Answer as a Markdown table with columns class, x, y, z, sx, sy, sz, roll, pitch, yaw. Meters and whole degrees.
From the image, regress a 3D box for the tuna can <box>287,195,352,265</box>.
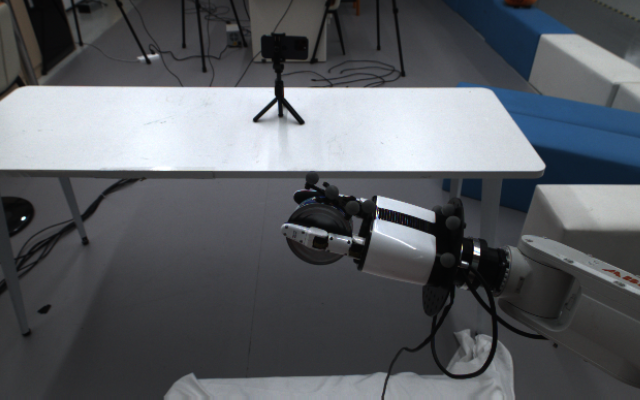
| class | x | y | z | sx | sy | sz | roll | pitch | yaw |
| --- | --- | --- | --- | --- | --- | --- | --- | --- | --- |
| tuna can | 0.003 | 0.038 | 0.631 | 0.085 | 0.085 | 0.034 | 7 | 17 | 7 |
